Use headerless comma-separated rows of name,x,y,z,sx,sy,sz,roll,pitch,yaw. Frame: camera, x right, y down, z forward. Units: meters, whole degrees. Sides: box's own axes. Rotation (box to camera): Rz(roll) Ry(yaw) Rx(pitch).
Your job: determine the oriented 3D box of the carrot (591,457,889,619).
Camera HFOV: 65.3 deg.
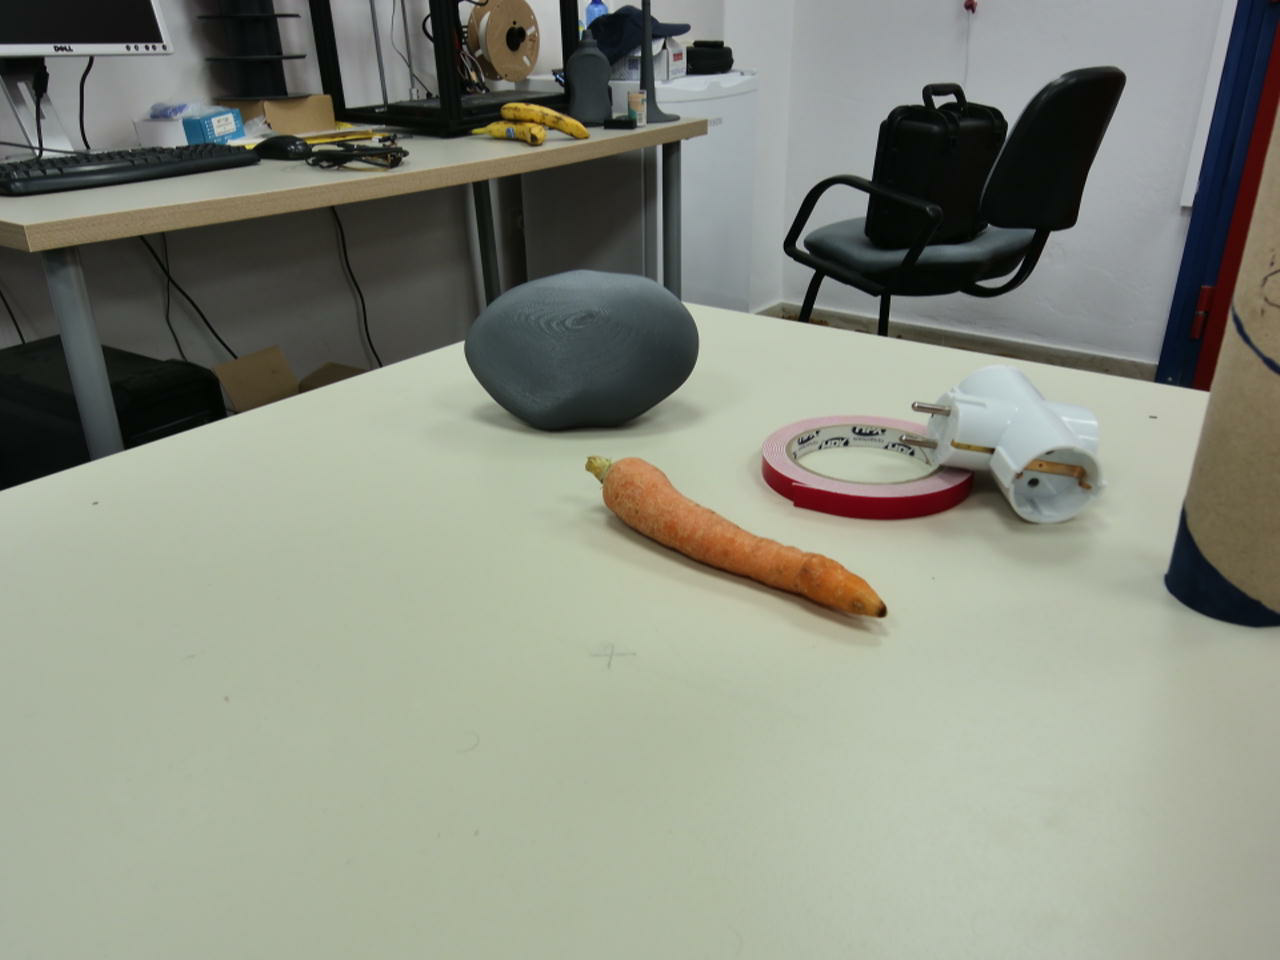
carrot,0.036,0.022,0.446,0.030,0.032,0.173,-19,29,-38
